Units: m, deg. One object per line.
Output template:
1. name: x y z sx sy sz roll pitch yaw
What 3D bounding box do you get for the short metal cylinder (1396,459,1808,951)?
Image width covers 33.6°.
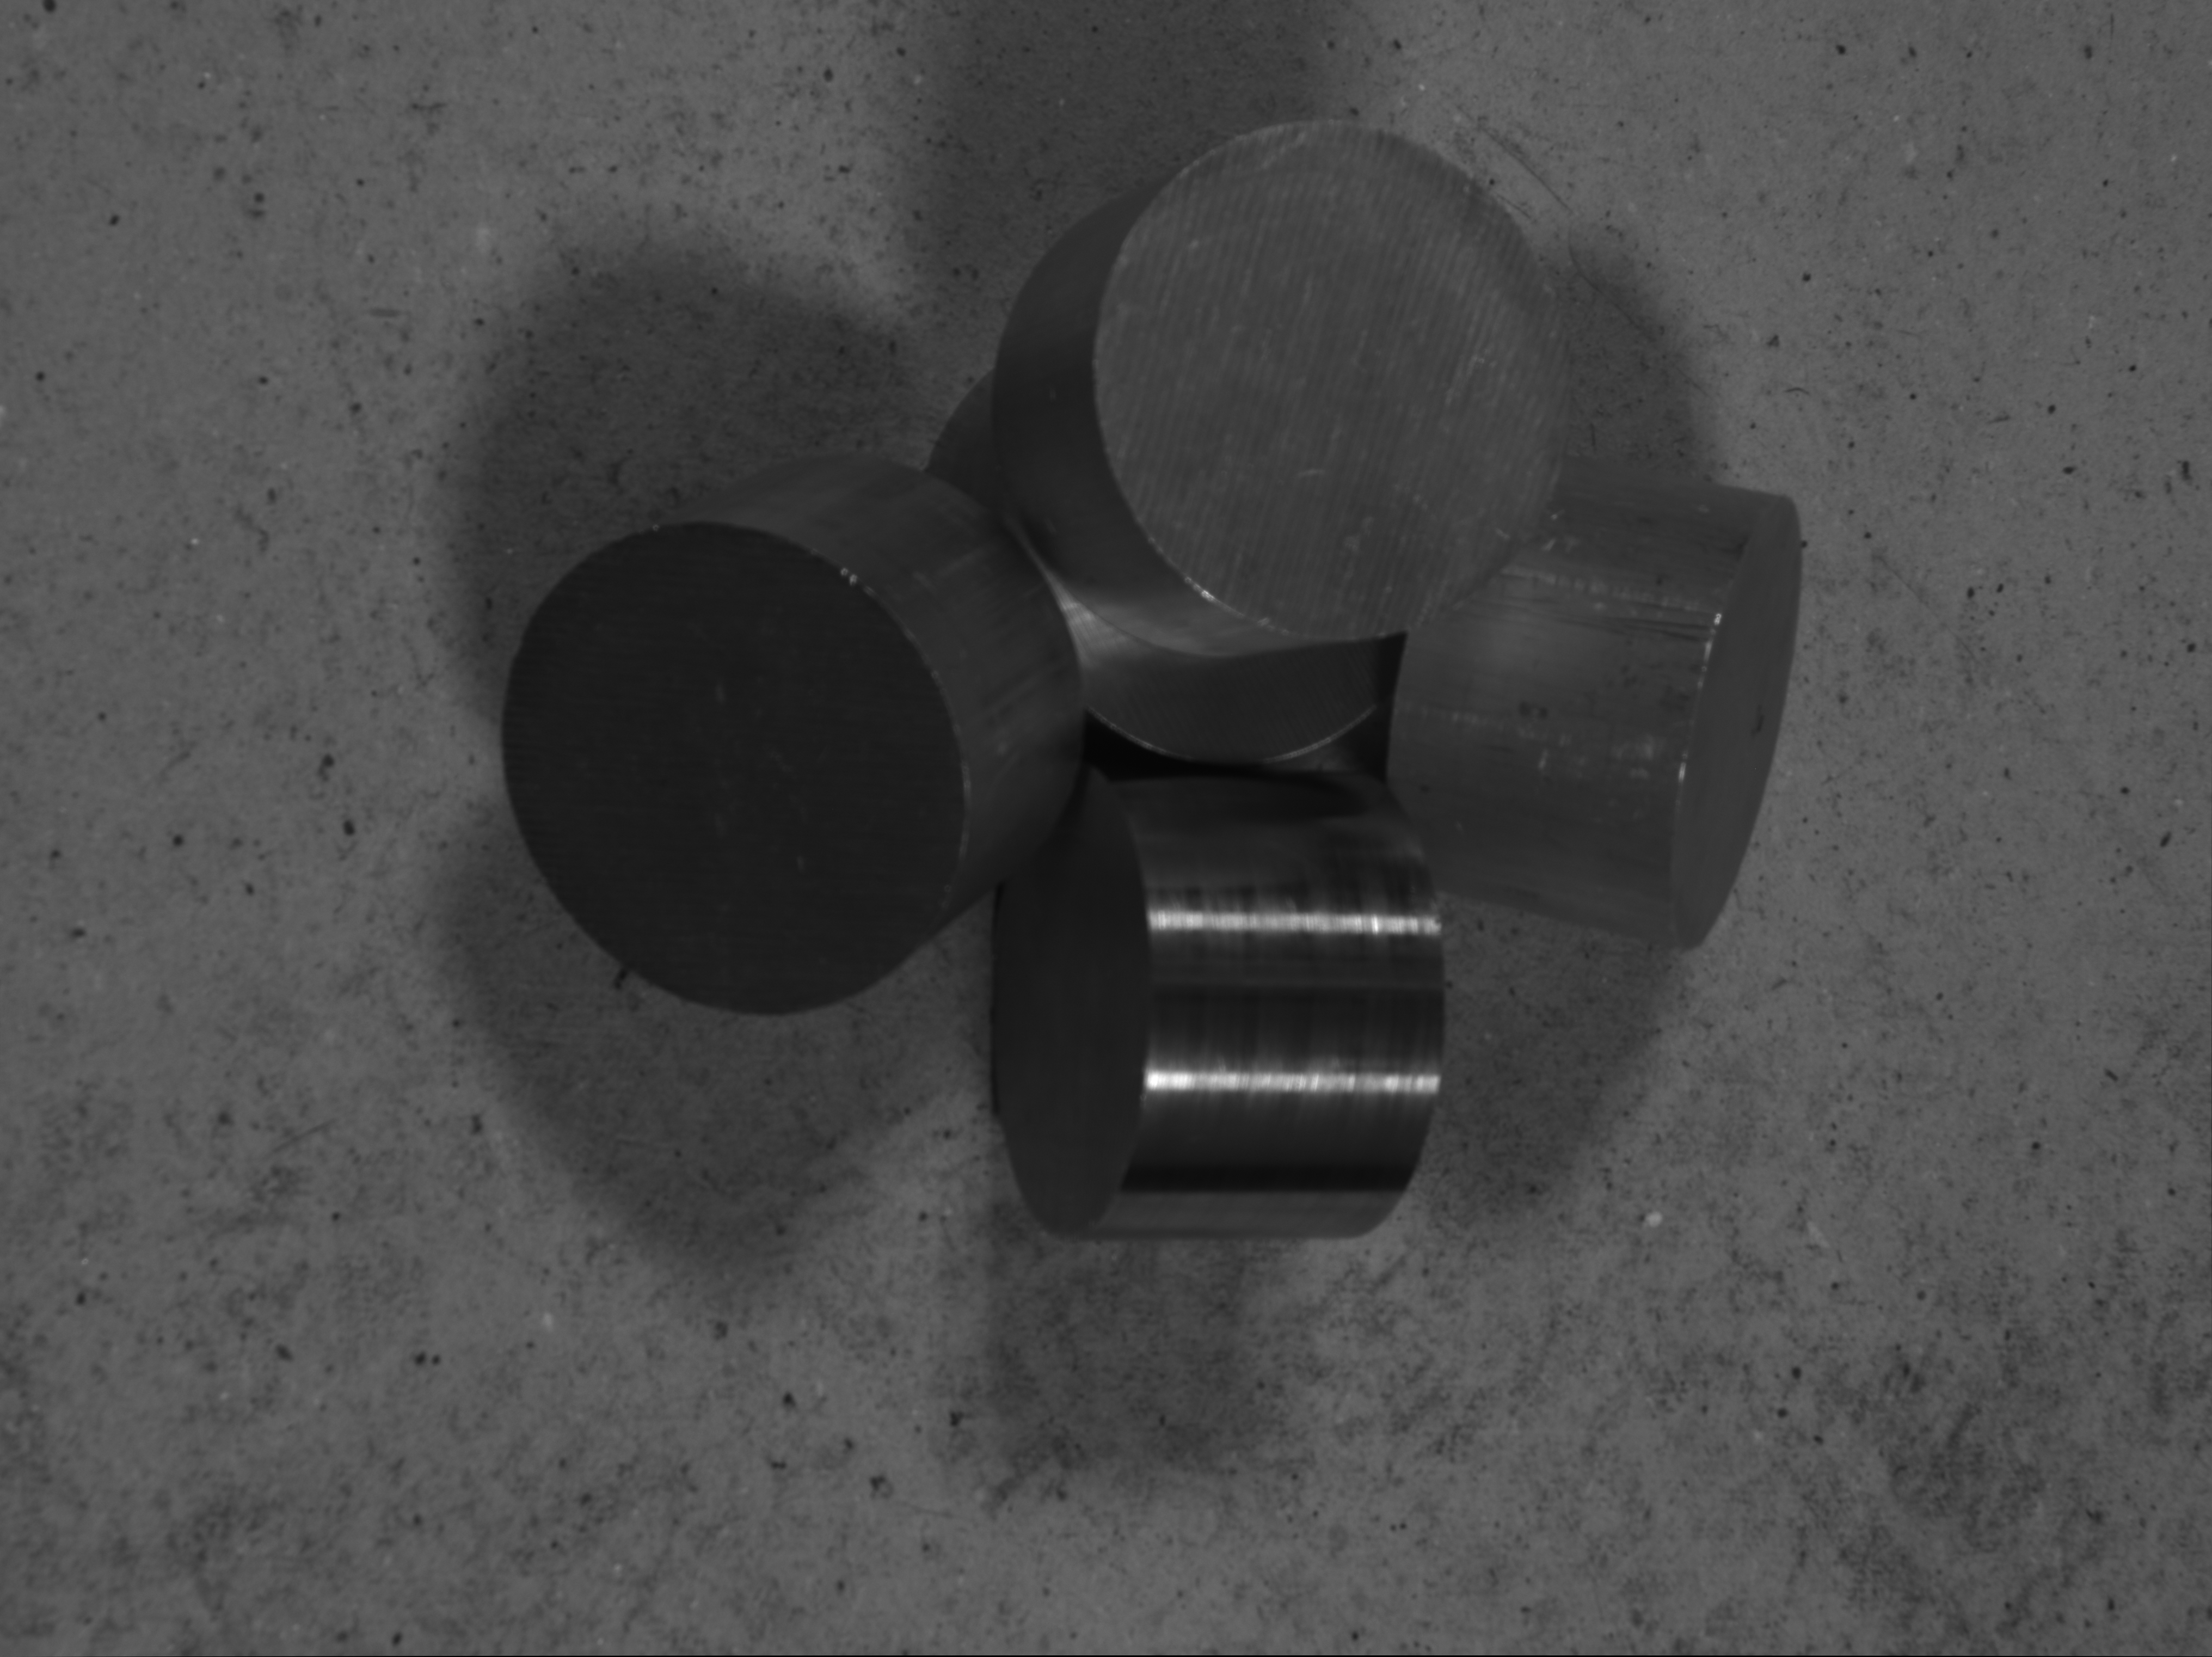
1. short metal cylinder: 0.088 -0.023 0.640 0.050 0.080 0.080 12 85 20

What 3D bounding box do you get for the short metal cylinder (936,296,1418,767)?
1. short metal cylinder: 0.014 -0.050 0.635 0.080 0.050 0.080 0 90 -20

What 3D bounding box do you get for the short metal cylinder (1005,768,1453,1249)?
1. short metal cylinder: 0.019 0.031 0.620 0.050 0.080 0.080 2 89 -20

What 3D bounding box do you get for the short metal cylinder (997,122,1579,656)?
1. short metal cylinder: 0.028 -0.069 0.587 0.080 0.050 0.080 0 90 -20

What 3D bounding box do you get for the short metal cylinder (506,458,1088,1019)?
1. short metal cylinder: -0.049 -0.015 0.591 0.080 0.050 0.080 7 109 19
